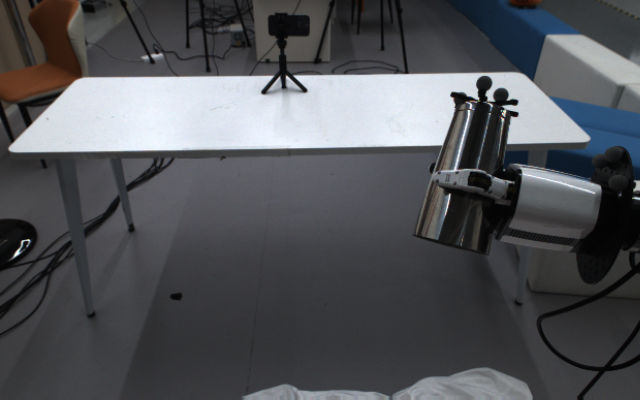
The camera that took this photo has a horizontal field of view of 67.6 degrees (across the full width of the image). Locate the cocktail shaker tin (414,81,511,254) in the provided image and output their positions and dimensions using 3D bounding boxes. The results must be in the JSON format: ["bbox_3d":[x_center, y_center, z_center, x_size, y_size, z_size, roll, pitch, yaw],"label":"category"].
[{"bbox_3d":[0.178,-0.028,0.588,0.093,0.170,0.093,16,-4,1],"label":"cocktail shaker tin"}]
